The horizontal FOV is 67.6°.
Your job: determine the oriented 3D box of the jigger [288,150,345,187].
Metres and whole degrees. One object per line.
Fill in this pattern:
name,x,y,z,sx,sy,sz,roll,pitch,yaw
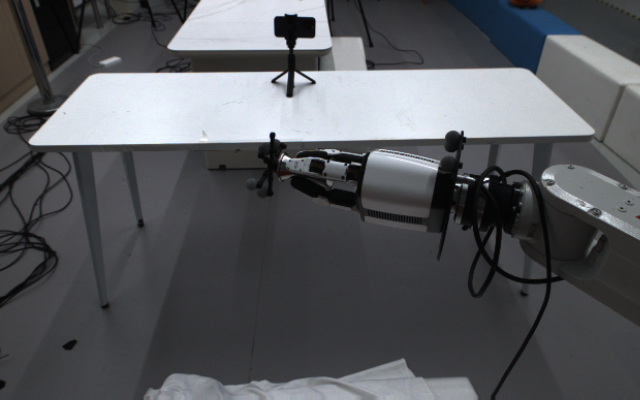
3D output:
jigger,-0.012,-0.042,0.635,0.071,0.043,0.043,10,35,16
